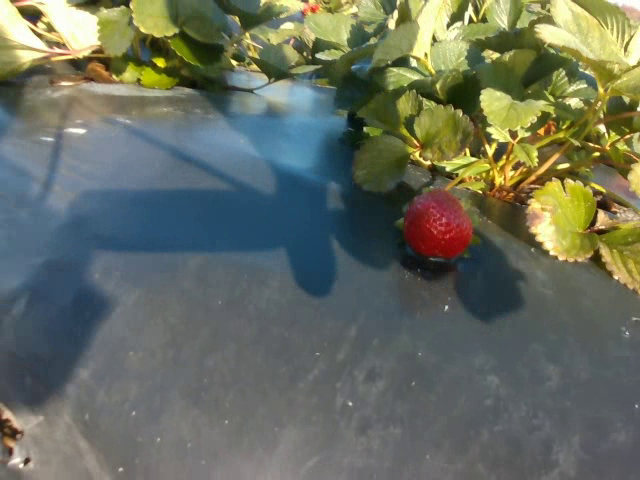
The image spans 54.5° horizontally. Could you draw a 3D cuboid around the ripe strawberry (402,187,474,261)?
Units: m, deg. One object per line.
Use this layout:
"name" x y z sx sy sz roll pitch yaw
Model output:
"ripe strawberry" 0.039 -0.007 0.209 0.028 0.031 0.041 -4 -12 17
